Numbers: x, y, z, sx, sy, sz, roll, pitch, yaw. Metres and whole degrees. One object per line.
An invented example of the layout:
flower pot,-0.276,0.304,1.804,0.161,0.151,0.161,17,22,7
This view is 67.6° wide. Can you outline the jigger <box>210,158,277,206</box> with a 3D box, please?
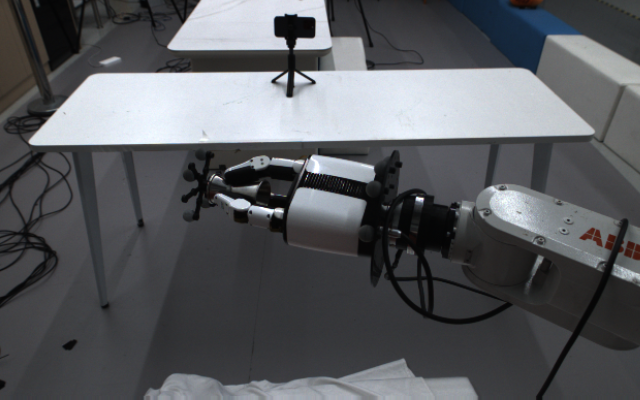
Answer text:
jigger,-0.098,-0.012,0.604,0.071,0.043,0.043,10,35,15
